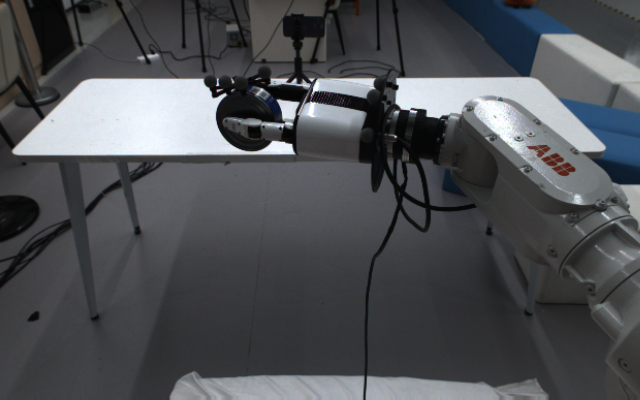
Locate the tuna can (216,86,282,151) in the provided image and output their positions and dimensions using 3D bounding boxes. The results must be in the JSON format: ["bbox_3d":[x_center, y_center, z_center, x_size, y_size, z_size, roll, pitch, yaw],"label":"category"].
[{"bbox_3d":[-0.093,-0.112,0.663,0.085,0.085,0.034,9,33,10],"label":"tuna can"}]
